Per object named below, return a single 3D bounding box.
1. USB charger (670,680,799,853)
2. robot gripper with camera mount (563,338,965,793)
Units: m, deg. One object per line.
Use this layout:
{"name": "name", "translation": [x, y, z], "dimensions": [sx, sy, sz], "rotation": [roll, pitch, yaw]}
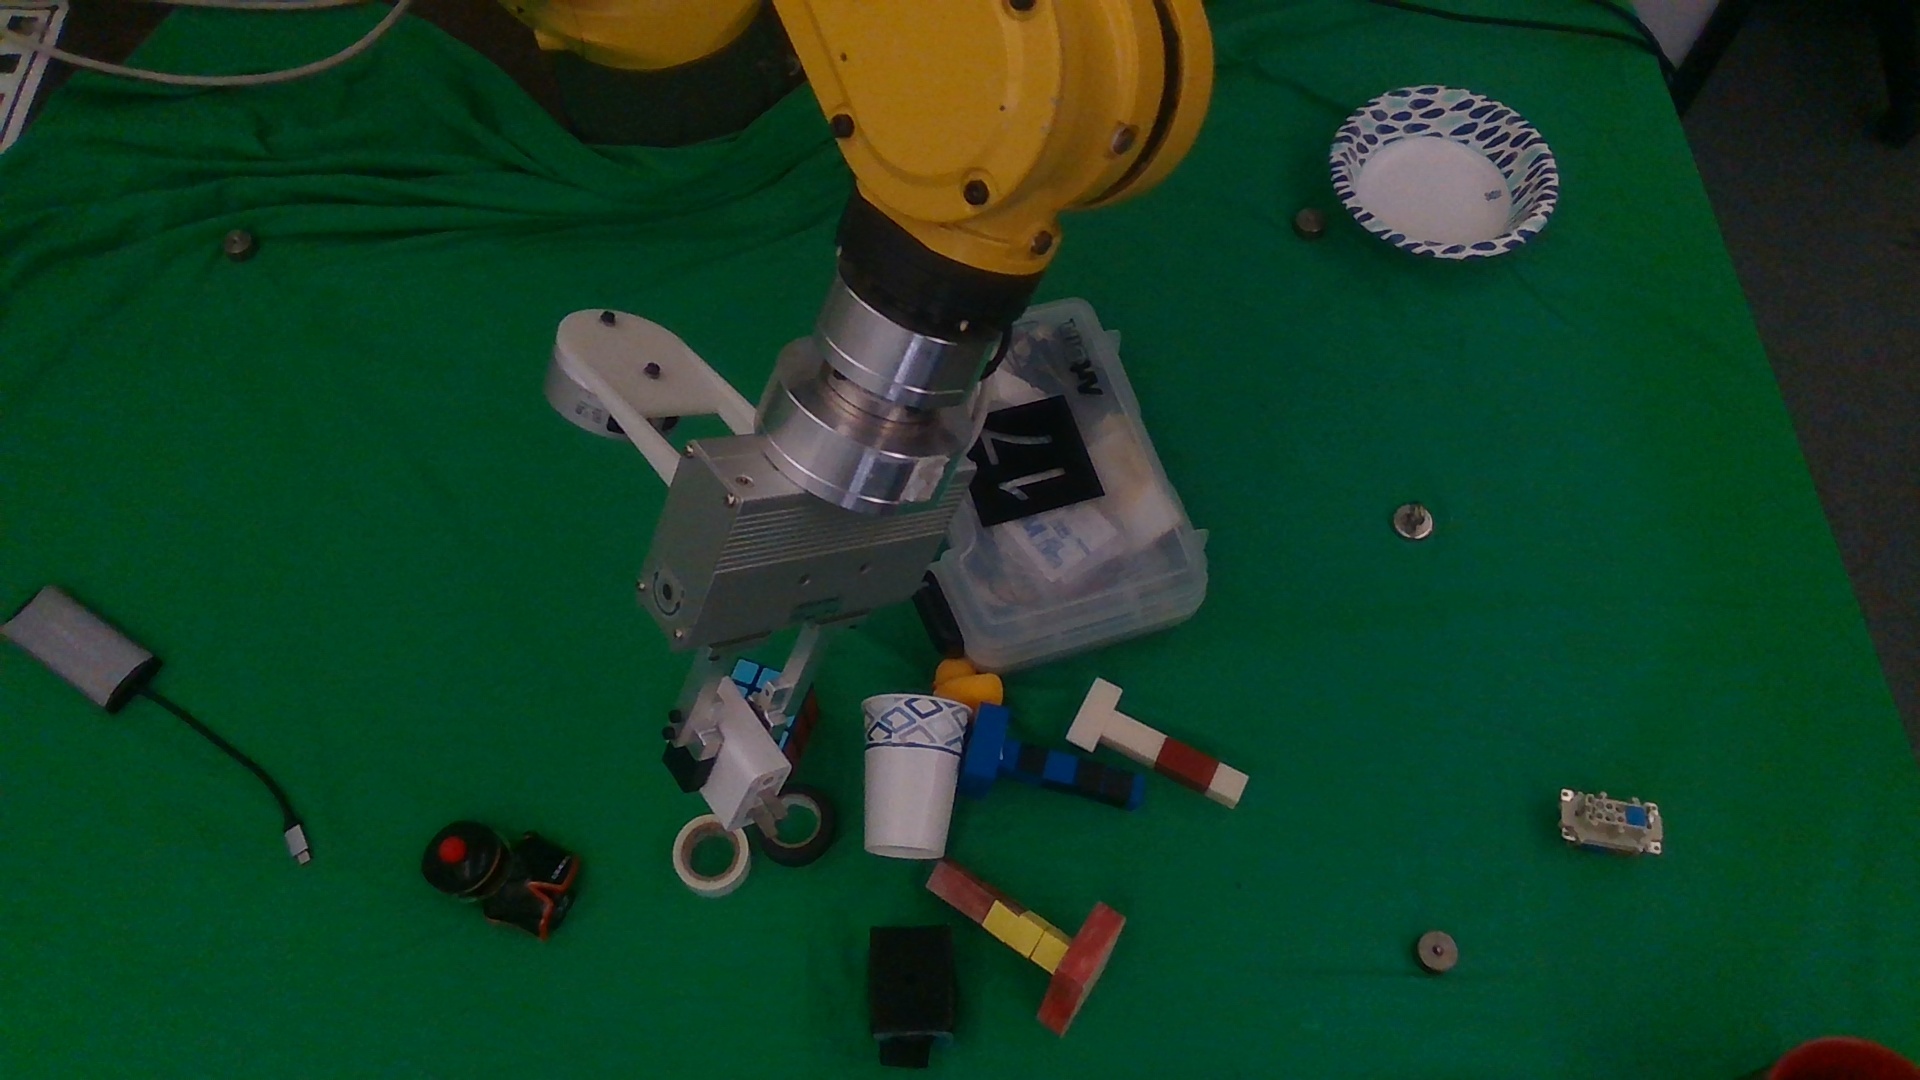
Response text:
{"name": "USB charger", "translation": [-0.093, 0.098, 0.588], "dimensions": [0.029, 0.045, 0.076], "rotation": [-11, 50, -42]}
{"name": "robot gripper with camera mount", "translation": [-0.122, -0.008, 0.606], "dimensions": [0.118, 0.159, 0.194], "rotation": [-8, 40, -40]}
